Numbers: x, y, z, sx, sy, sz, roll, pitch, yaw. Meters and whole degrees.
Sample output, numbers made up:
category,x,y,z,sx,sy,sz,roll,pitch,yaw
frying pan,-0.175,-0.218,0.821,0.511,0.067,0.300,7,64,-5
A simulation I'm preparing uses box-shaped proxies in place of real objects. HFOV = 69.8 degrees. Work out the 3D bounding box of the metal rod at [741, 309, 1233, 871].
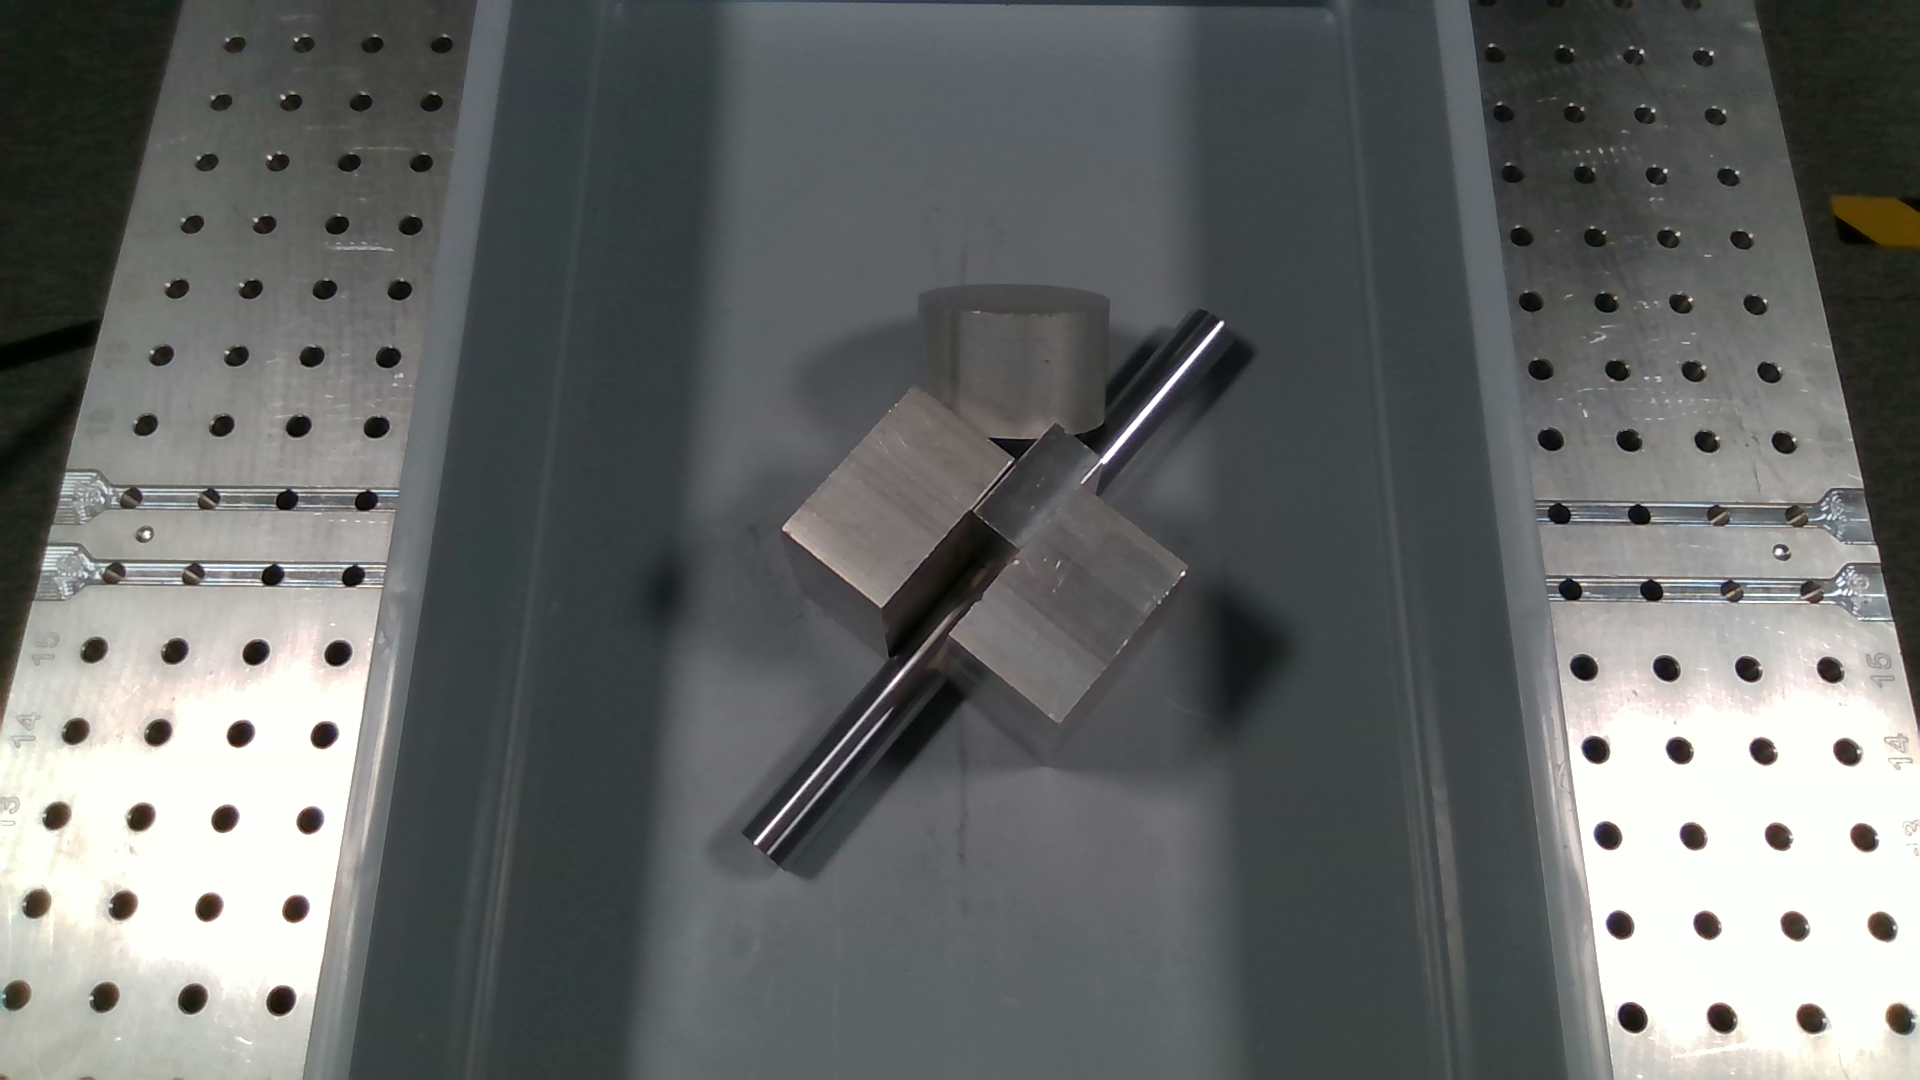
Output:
category,x,y,z,sx,sy,sz,roll,pitch,yaw
metal rod,0.018,0.014,0.583,0.025,0.025,0.300,38,75,12

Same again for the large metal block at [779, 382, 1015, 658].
category,x,y,z,sx,sy,sz,roll,pitch,yaw
large metal block,-0.024,-0.004,0.560,0.050,0.080,0.080,37,74,12

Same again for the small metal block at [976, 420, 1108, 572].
category,x,y,z,sx,sy,sz,roll,pitch,yaw
small metal block,0.032,-0.013,0.554,0.025,0.050,0.050,39,75,13

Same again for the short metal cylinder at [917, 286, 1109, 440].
category,x,y,z,sx,sy,sz,roll,pitch,yaw
short metal cylinder,0.022,-0.077,0.579,0.080,0.080,0.050,1,109,0

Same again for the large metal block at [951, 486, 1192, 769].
category,x,y,z,sx,sy,sz,roll,pitch,yaw
large metal block,0.042,0.037,0.546,0.050,0.080,0.080,39,75,13
